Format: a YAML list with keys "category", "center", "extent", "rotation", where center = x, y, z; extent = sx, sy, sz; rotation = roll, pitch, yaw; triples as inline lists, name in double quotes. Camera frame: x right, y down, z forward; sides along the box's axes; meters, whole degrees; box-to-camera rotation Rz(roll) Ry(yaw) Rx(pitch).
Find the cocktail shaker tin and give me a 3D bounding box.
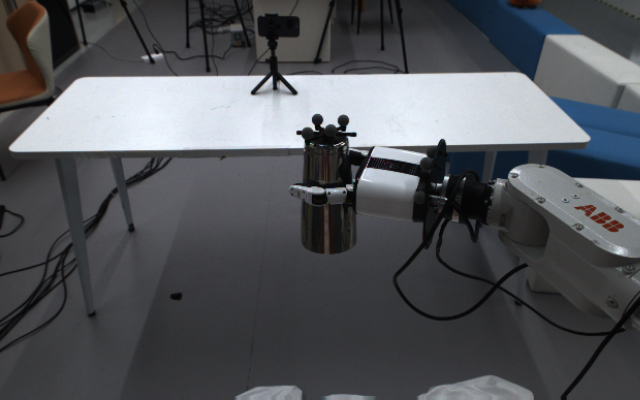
- category: "cocktail shaker tin"
  center: [0.013, -0.014, 0.747]
  extent: [0.093, 0.170, 0.093]
  rotation: [-2, 26, 1]
